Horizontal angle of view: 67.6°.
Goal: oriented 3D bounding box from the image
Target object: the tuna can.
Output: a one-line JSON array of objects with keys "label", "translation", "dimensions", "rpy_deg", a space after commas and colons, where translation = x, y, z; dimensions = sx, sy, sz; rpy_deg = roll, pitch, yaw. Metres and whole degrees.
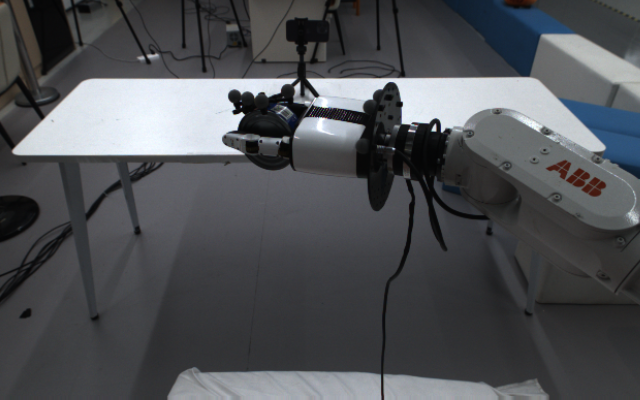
[{"label": "tuna can", "translation": [-0.064, -0.086, 0.646], "dimensions": [0.085, 0.085, 0.034], "rpy_deg": [14, 34, 17]}]
